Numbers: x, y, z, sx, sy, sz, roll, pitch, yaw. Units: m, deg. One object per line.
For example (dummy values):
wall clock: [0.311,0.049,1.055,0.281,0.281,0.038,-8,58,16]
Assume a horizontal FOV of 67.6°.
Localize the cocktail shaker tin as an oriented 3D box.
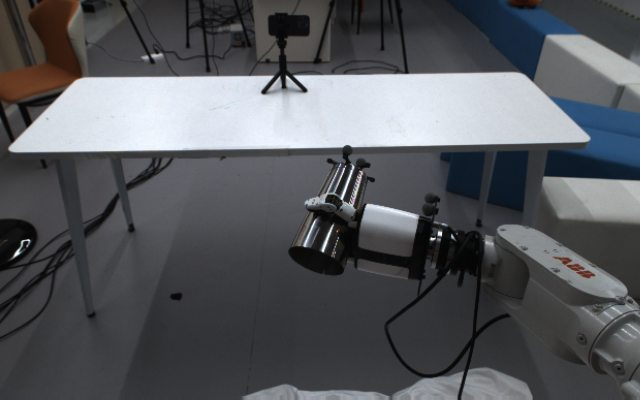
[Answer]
cocktail shaker tin: [0.020,0.025,0.780,0.093,0.093,0.170,14,61,17]
